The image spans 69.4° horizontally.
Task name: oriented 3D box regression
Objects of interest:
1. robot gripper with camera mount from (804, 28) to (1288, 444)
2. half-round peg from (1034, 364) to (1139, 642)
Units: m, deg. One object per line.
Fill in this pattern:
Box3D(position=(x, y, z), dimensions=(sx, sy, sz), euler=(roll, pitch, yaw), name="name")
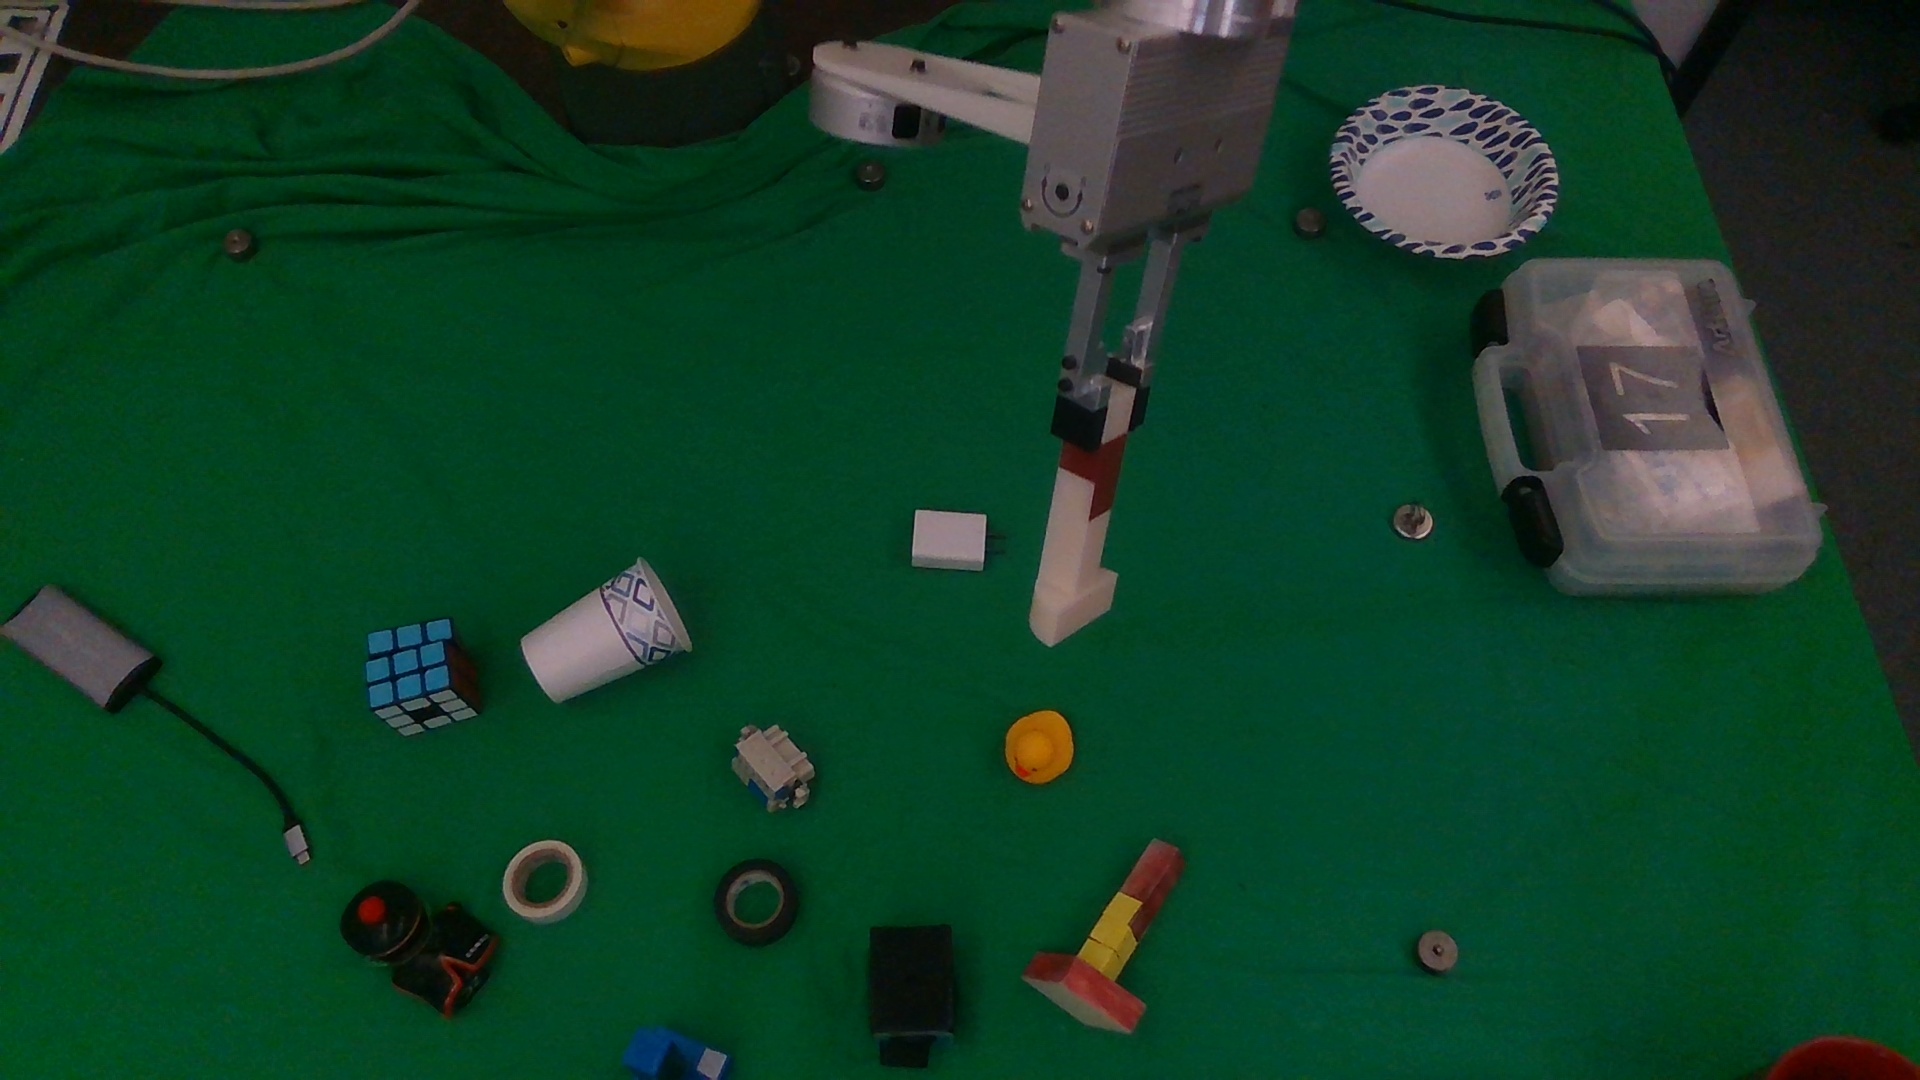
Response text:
Box3D(position=(0.005, -0.148, 0.585), dimensions=(0.194, 0.158, 0.118), euler=(31, 36, 30), name="robot gripper with camera mount")
Box3D(position=(0.057, -0.018, 0.607), dimensions=(0.031, 0.122, 0.054), euler=(28, 35, 33), name="half-round peg")
